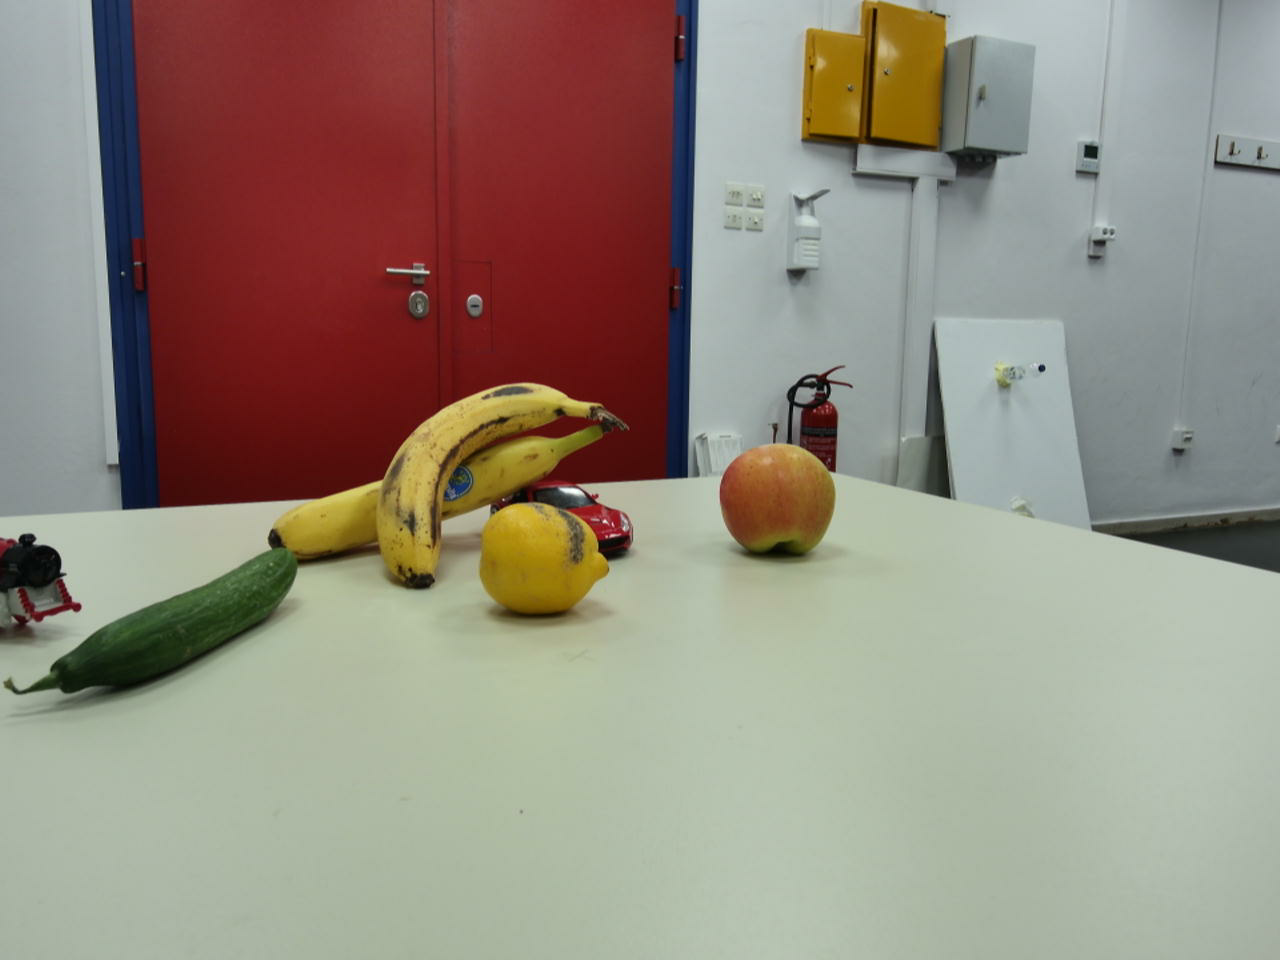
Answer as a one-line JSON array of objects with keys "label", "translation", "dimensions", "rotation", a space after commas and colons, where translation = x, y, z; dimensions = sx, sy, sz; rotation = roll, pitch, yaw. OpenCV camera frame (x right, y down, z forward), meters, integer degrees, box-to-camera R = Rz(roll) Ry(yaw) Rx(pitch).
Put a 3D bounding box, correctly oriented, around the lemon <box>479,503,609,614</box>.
[{"label": "lemon", "translation": [-0.052, 0.040, 0.510], "dimensions": [0.061, 0.056, 0.058], "rotation": [-4, 8, -33]}]
